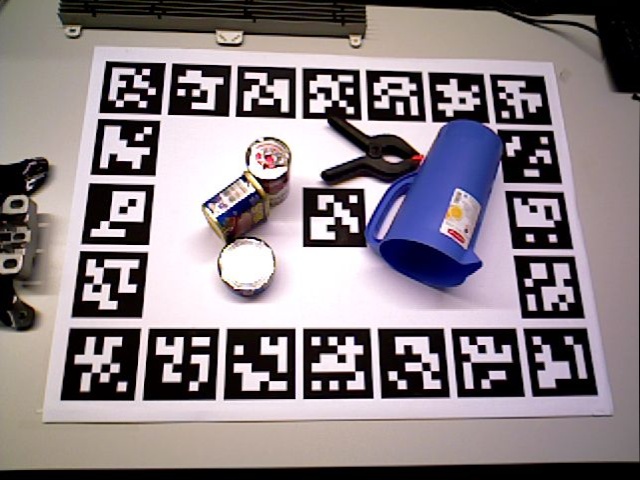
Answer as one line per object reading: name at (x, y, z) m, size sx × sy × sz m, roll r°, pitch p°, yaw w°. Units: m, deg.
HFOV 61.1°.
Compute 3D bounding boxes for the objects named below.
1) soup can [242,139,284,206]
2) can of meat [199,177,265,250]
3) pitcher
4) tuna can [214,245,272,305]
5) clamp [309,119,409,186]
soup can at (-0.087, -0.099, 0.827) m, size 0.067 × 0.103 × 0.067 m, roll 0°, pitch 73°, yaw -2°
can of meat at (-0.132, -0.036, 0.800) m, size 0.083 × 0.103 × 0.058 m, roll -36°, pitch 79°, yaw -11°
pitcher at (0.183, -0.055, 0.808) m, size 0.189 × 0.135 × 0.239 m, roll 12°, pitch 63°, yaw 23°
tuna can at (-0.115, 0.053, 0.812) m, size 0.085 × 0.034 × 0.085 m, roll 1°, pitch 74°, yaw -3°
clamp at (0.063, -0.140, 0.893) m, size 0.164 × 0.037 × 0.120 m, roll 3°, pitch 68°, yaw -6°
